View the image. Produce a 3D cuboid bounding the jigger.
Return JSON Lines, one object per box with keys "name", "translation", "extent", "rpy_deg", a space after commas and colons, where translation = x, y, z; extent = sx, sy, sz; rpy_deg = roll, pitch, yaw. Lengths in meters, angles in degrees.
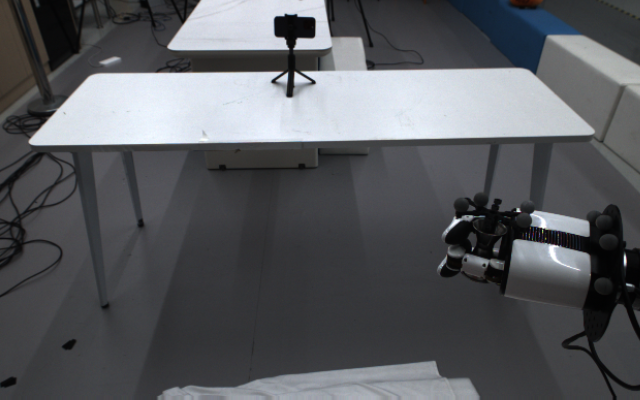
{"name": "jigger", "translation": [0.206, 0.062, 0.602], "extent": [0.043, 0.071, 0.043], "rpy_deg": [3, 24, -1]}
